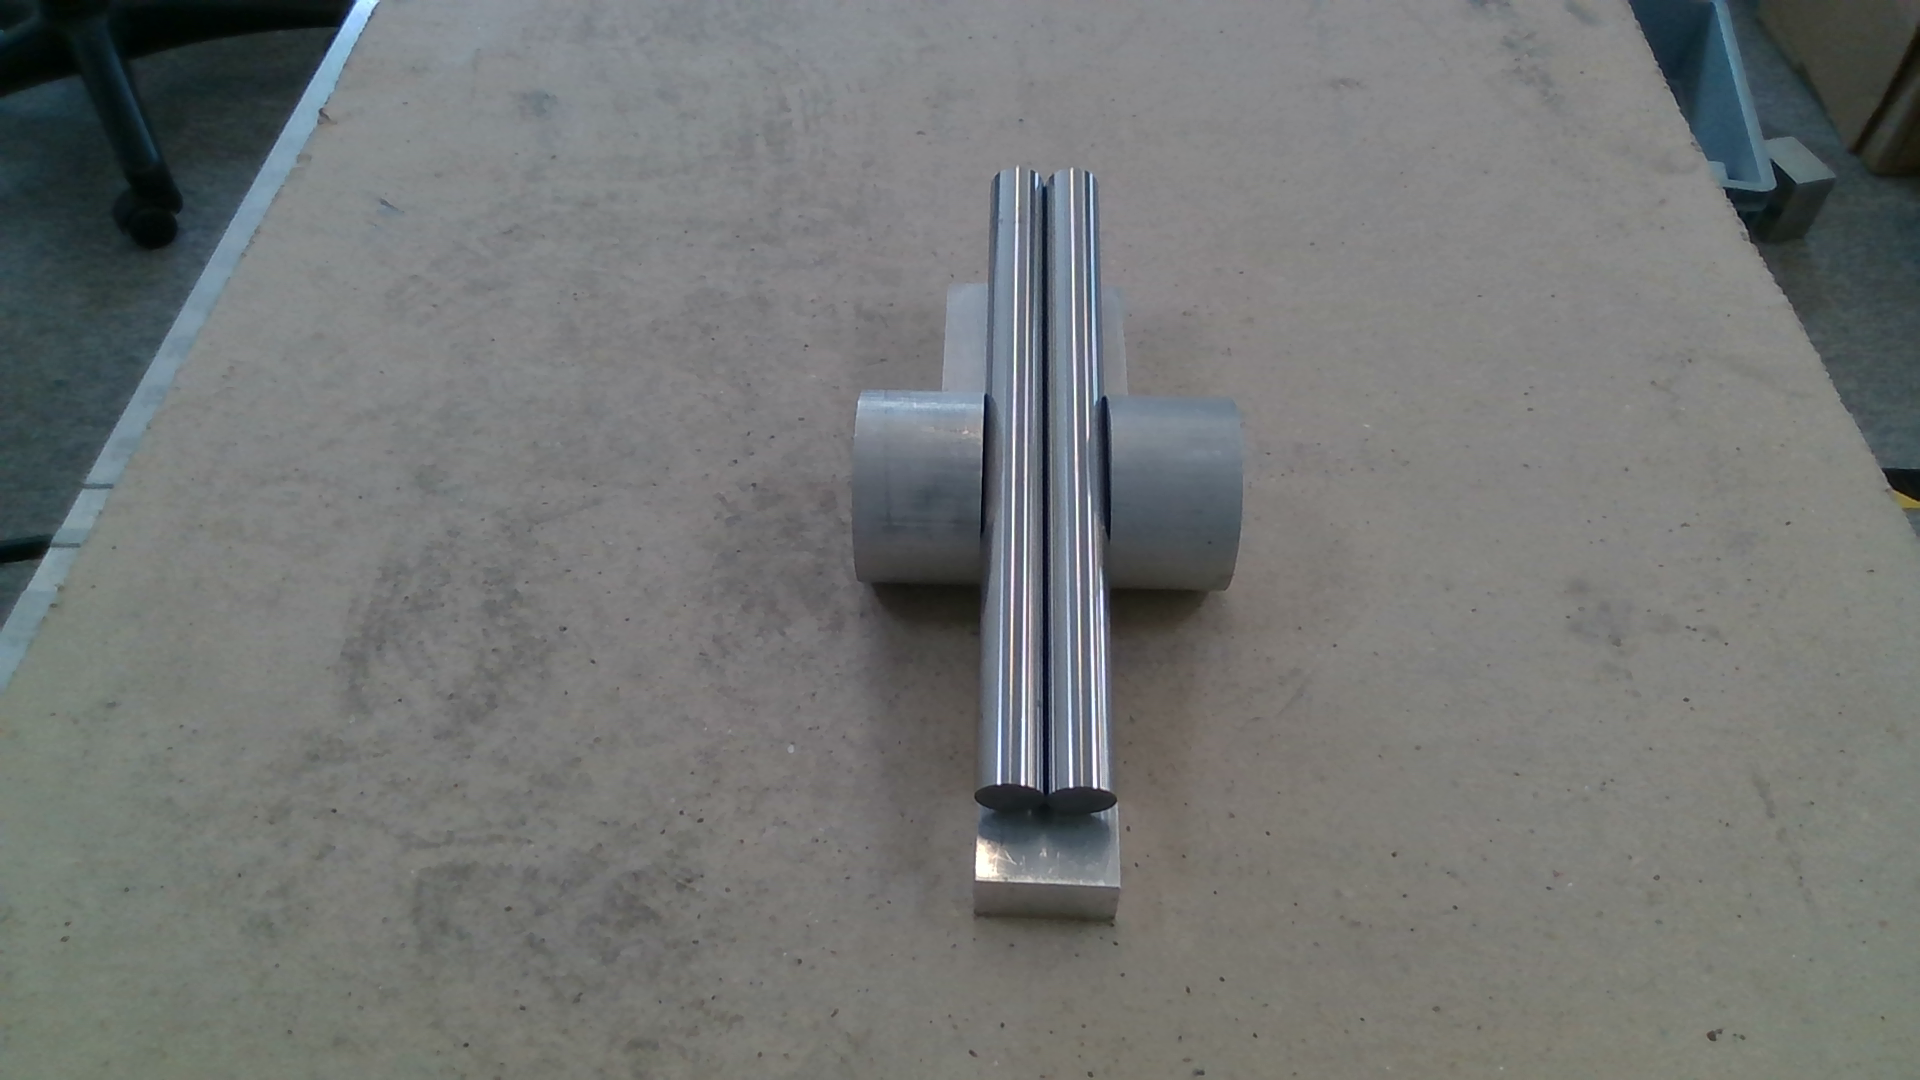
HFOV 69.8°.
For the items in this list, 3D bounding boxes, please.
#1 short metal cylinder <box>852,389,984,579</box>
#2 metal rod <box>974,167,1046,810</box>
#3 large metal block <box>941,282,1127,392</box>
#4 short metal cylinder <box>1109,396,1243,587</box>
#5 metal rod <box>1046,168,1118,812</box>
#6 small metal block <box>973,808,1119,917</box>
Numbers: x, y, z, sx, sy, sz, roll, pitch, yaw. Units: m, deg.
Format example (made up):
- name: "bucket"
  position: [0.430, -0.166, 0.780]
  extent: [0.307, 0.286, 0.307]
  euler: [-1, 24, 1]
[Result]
- name: "short metal cylinder"
  position: [-0.016, -0.023, 0.571]
  extent: [0.050, 0.080, 0.080]
  euler: [1, 50, 1]
- name: "metal rod"
  position: [0.022, -0.037, 0.560]
  extent: [0.025, 0.025, 0.299]
  euler: [1, 58, 1]
- name: "large metal block"
  position: [0.033, -0.072, 0.632]
  extent: [0.080, 0.050, 0.080]
  euler: [1, 50, 1]
- name: "short metal cylinder"
  position: [0.084, -0.020, 0.568]
  extent: [0.050, 0.080, 0.080]
  euler: [1, 50, 1]
- name: "metal rod"
  position: [0.047, -0.036, 0.560]
  extent: [0.025, 0.025, 0.299]
  euler: [1, 58, 1]
- name: "small metal block"
  position: [0.031, 0.107, 0.499]
  extent: [0.050, 0.025, 0.050]
  euler: [2, 50, 2]
